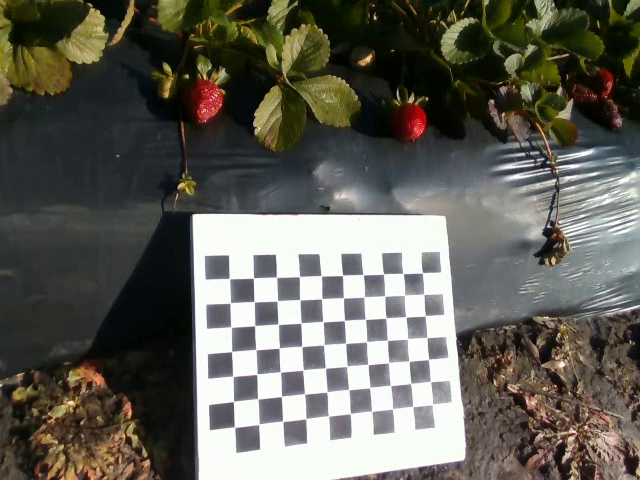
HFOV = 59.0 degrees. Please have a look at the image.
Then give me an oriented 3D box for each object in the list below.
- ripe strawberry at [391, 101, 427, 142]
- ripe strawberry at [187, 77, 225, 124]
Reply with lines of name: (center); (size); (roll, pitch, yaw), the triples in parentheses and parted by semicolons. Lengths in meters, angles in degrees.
ripe strawberry: (0.090, -0.117, 0.568); (0.042, 0.043, 0.050); (36, 26, -14)
ripe strawberry: (-0.109, -0.127, 0.512); (0.041, 0.043, 0.053); (12, 36, -20)
